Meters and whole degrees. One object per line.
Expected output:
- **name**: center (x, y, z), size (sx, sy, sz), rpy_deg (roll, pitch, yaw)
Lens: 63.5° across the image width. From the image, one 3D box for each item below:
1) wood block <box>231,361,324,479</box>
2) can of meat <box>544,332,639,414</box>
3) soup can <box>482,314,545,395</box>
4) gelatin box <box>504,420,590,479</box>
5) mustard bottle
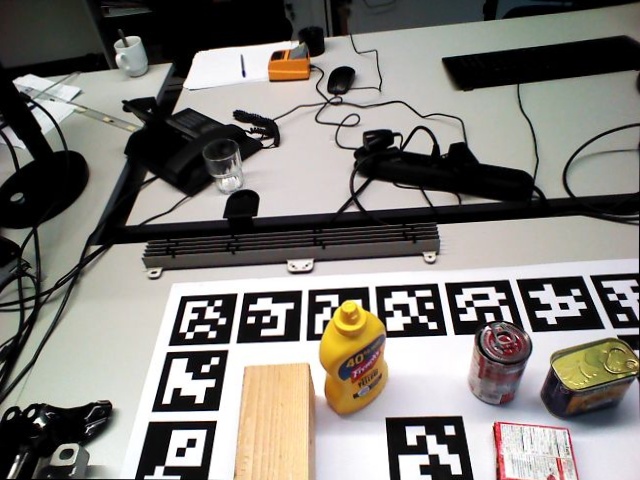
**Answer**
- **wood block**: center (-0.048, 0.259, 0.632), size (0.091, 0.090, 0.205), rpy_deg (-2, 42, 6)
- **can of meat**: center (0.342, 0.170, 0.651), size (0.102, 0.084, 0.057), rpy_deg (-13, 46, -5)
- **soup can**: center (0.244, 0.147, 0.665), size (0.068, 0.102, 0.067), rpy_deg (-6, 47, 6)
- **gelatin box**: center (0.266, 0.257, 0.610), size (0.090, 0.030, 0.073), rpy_deg (2, 49, 16)
- **mustard bottle**: center (0.046, 0.144, 0.660), size (0.096, 0.192, 0.058), rpy_deg (-22, 46, -13)
